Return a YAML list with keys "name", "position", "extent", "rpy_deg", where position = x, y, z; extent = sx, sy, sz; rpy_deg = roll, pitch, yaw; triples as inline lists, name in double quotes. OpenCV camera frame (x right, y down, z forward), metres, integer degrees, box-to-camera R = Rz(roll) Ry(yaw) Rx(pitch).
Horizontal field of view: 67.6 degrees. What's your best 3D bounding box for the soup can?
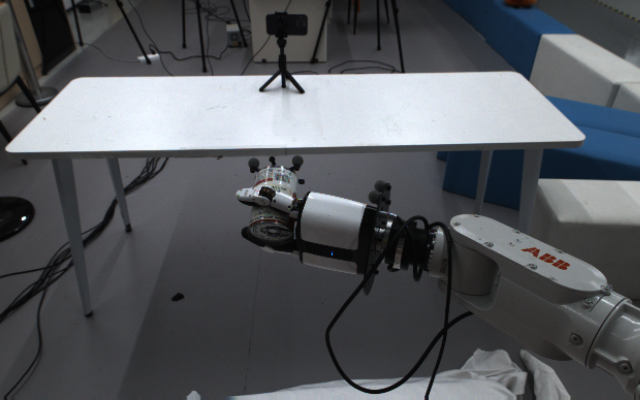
- name: "soup can"
  position: [-0.069, 0.008, 0.719]
  extent: [0.067, 0.067, 0.101]
  rpy_deg: [3, 59, 1]
